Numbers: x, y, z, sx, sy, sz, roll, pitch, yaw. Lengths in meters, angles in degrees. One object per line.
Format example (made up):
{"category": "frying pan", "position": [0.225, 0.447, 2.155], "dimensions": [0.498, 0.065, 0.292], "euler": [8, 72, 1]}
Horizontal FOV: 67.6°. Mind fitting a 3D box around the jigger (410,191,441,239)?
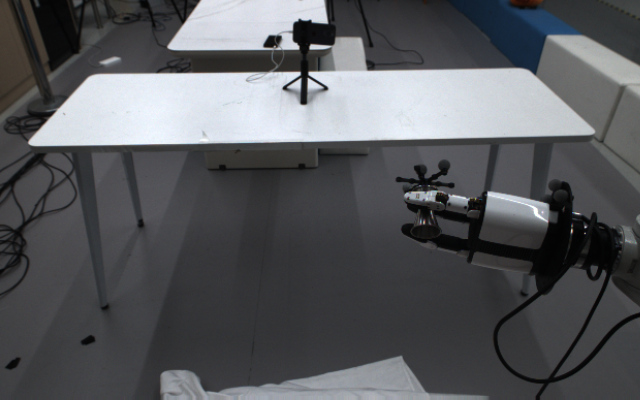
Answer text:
{"category": "jigger", "position": [0.154, 0.016, 0.714], "dimensions": [0.043, 0.043, 0.071], "euler": [4, 61, 3]}
